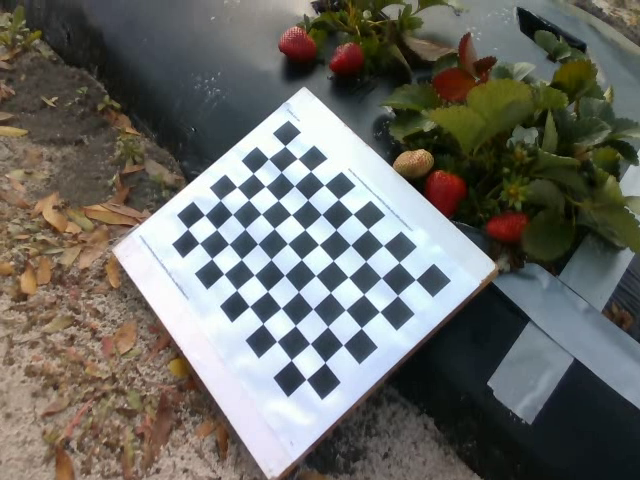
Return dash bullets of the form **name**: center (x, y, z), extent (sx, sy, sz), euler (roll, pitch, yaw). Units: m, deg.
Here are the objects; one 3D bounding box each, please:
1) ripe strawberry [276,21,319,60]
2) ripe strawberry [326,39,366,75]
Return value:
- **ripe strawberry**: center (-0.033, -0.246, 0.716), extent (0.050, 0.045, 0.061), euler (34, 42, 25)
- **ripe strawberry**: center (0.029, -0.229, 0.702), extent (0.042, 0.034, 0.053), euler (28, 43, 24)
